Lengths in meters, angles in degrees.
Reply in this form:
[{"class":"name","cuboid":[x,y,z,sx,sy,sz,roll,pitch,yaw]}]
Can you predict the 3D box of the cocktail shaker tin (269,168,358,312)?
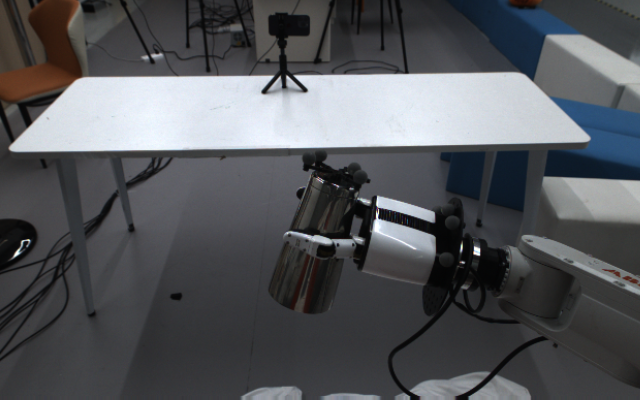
[{"class":"cocktail shaker tin","cuboid":[-0.004,0.051,0.636,0.093,0.170,0.093,15,17,-5]}]
